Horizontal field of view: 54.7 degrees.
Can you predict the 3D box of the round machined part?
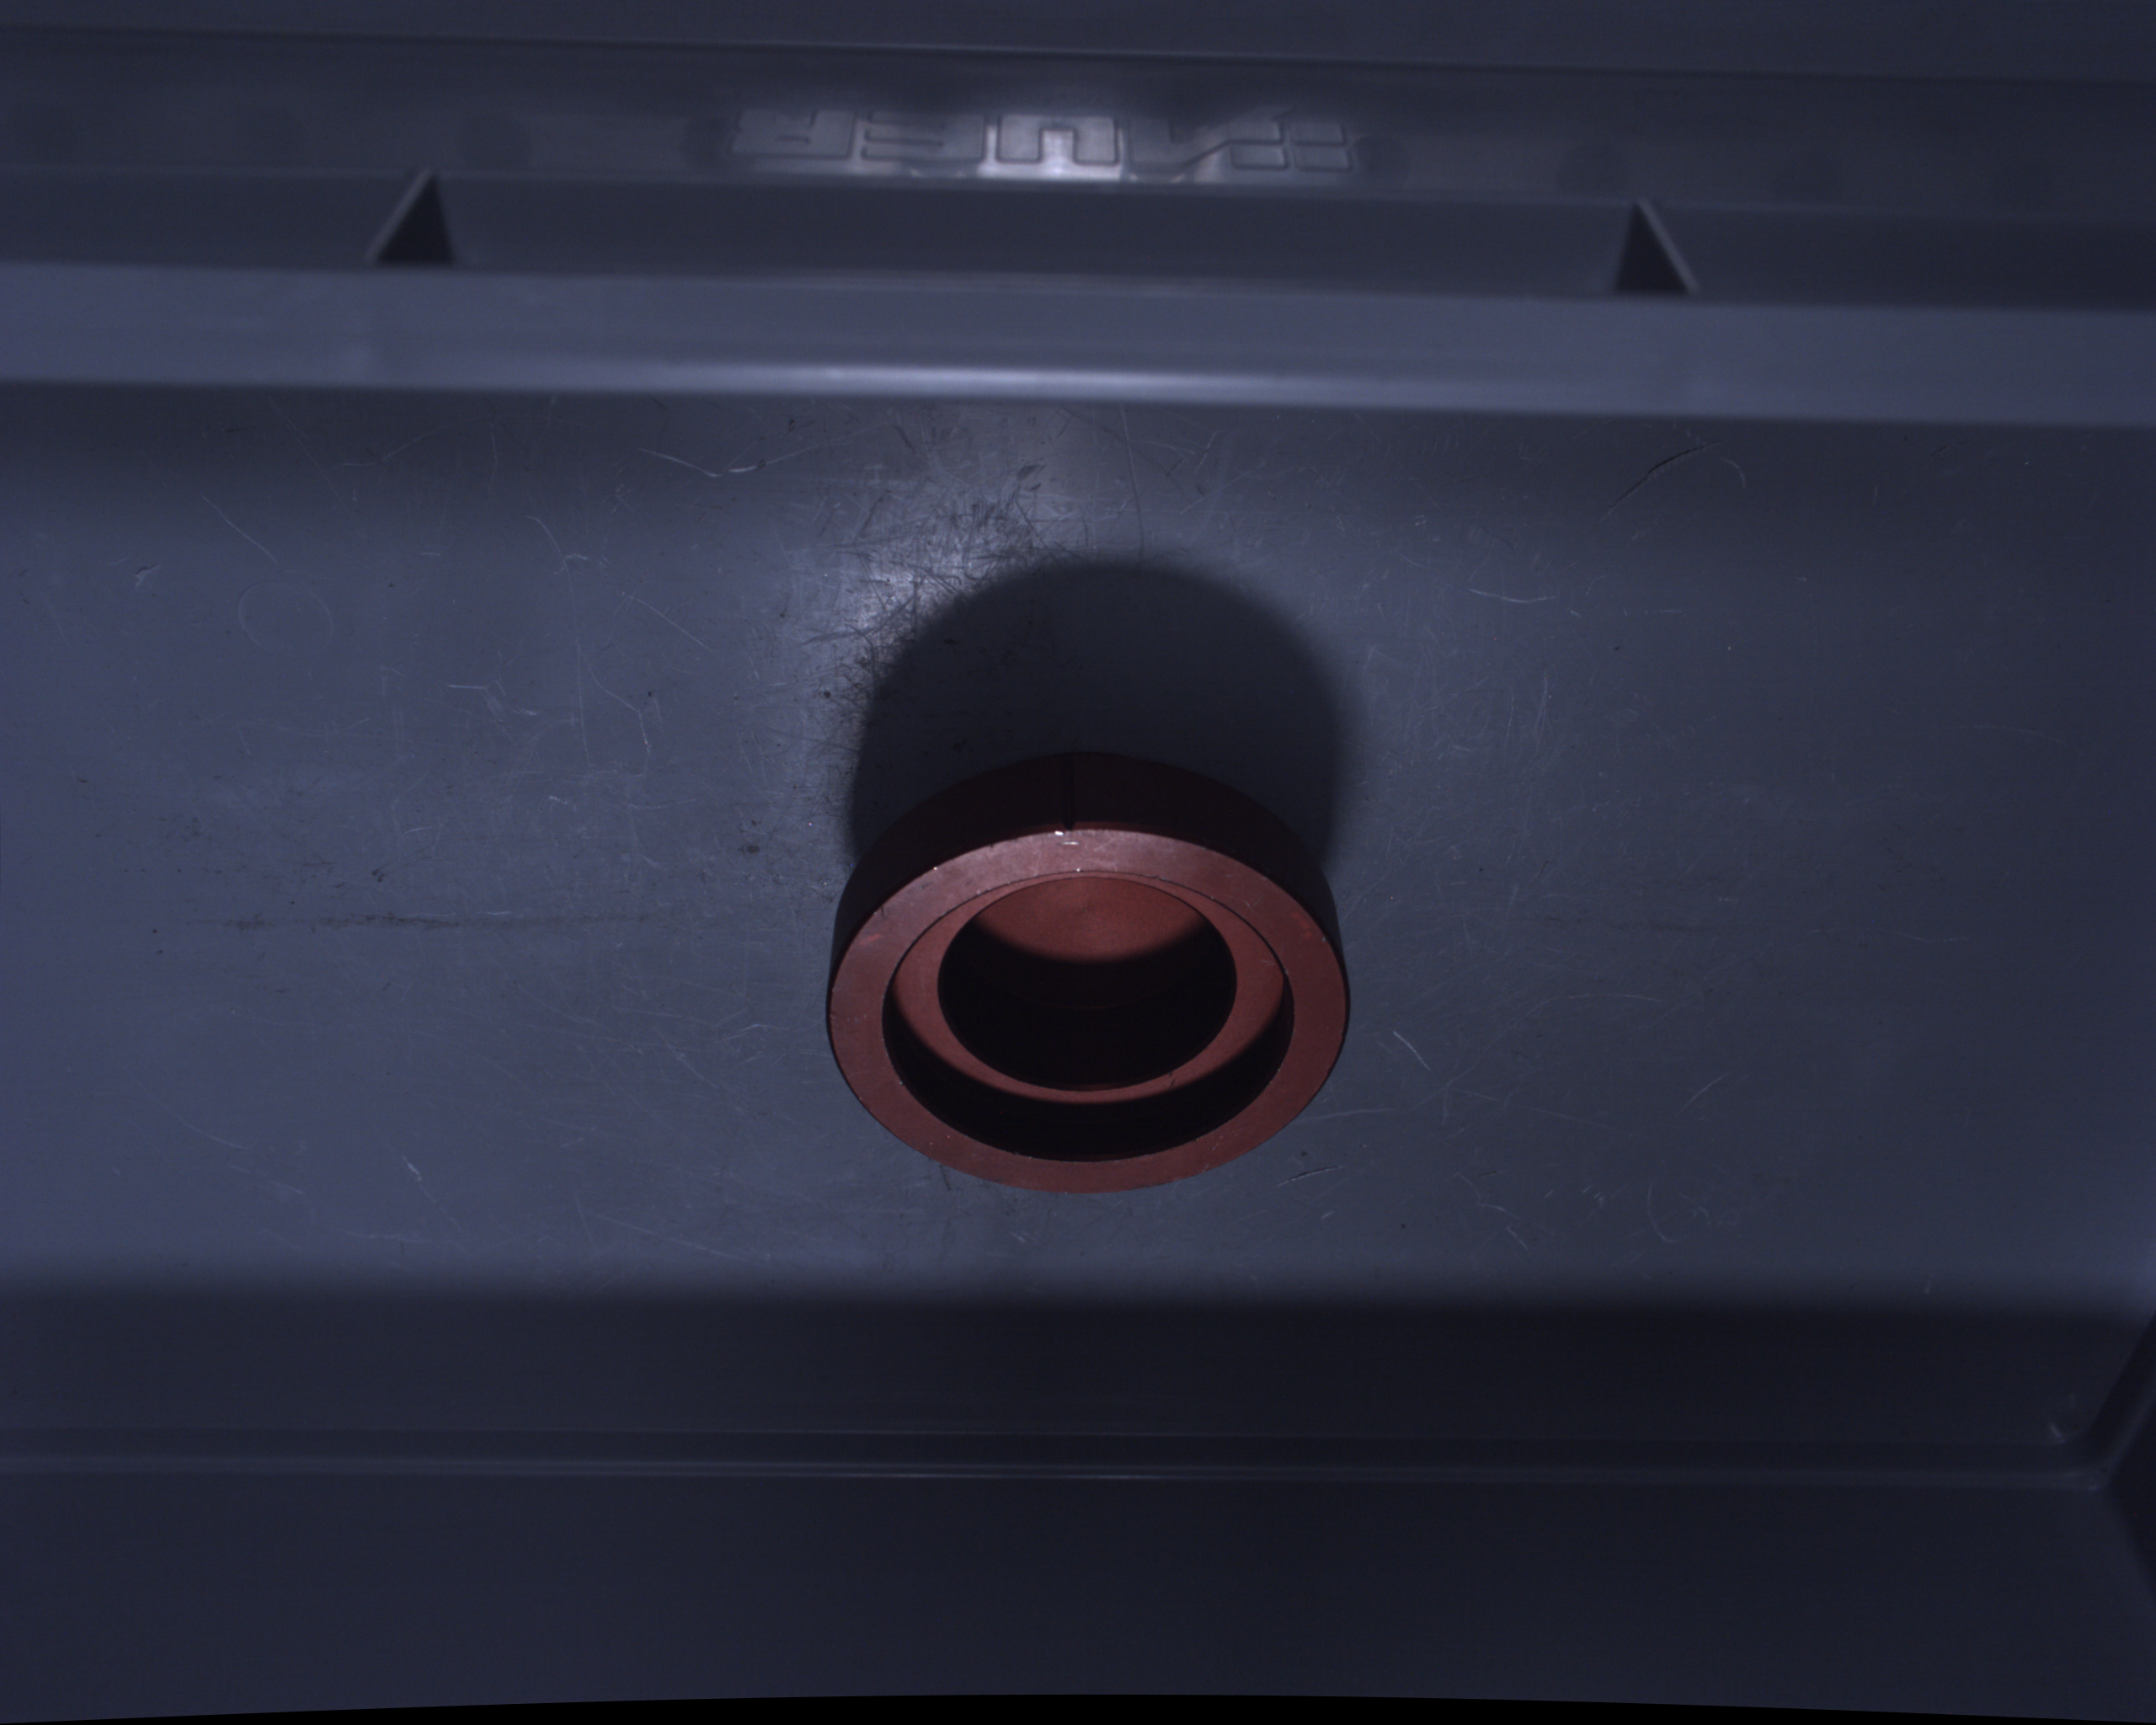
[{"bbox_3d":[0.002,0.017,0.408,0.099,0.042,0.097,-1,130,0],"label":"round machined part"}]
